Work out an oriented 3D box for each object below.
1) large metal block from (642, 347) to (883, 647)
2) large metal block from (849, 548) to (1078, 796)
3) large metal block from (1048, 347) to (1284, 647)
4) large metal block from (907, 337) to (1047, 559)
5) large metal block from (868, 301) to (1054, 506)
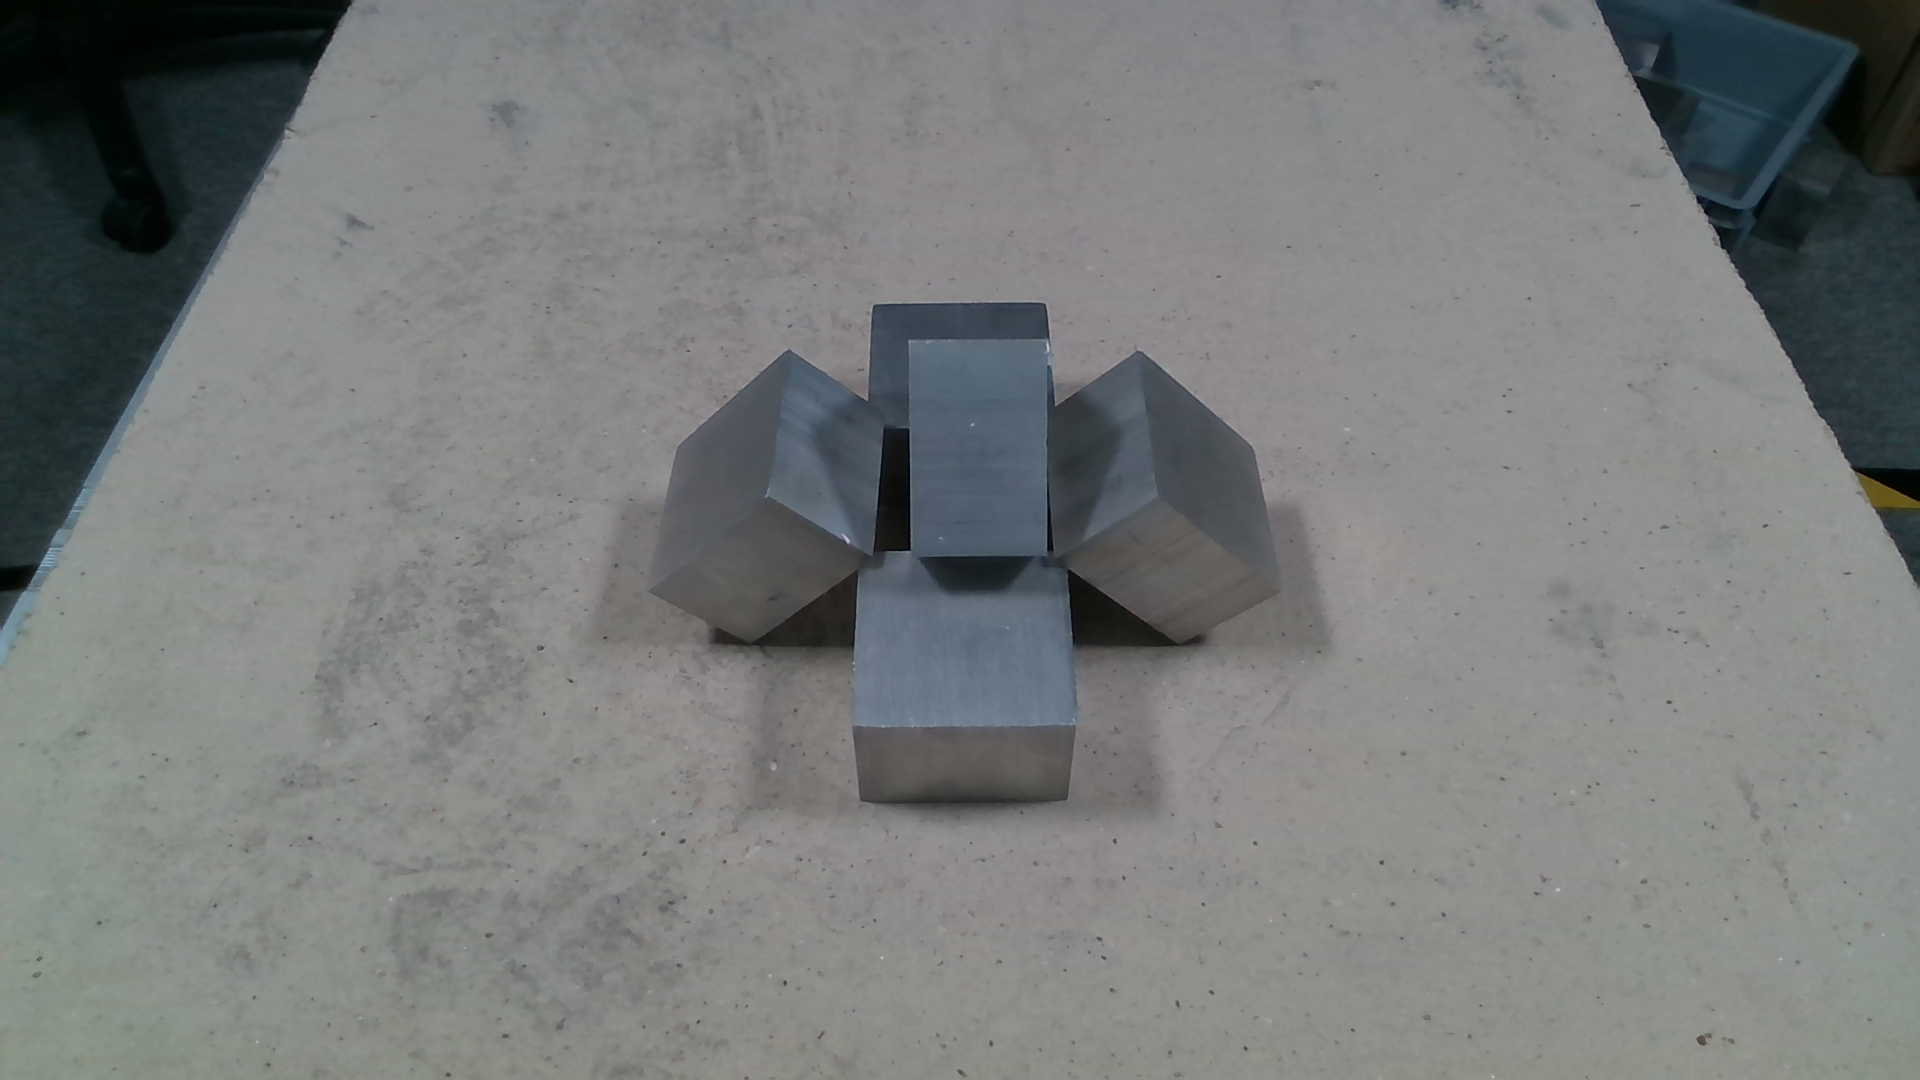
[{"bbox_3d":[-0.079,-0.016,0.557,0.050,0.080,0.080,32,41,-31],"label":"large metal block"},{"bbox_3d":[0.001,0.050,0.526,0.080,0.050,0.080,0,50,0],"label":"large metal block"},{"bbox_3d":[0.081,-0.016,0.557,0.050,0.080,0.080,-32,41,32],"label":"large metal block"},{"bbox_3d":[0.006,-0.037,0.539,0.050,0.080,0.080,-1,6,0],"label":"large metal block"},{"bbox_3d":[0.000,-0.062,0.623,0.080,0.050,0.080,-1,50,0],"label":"large metal block"}]
